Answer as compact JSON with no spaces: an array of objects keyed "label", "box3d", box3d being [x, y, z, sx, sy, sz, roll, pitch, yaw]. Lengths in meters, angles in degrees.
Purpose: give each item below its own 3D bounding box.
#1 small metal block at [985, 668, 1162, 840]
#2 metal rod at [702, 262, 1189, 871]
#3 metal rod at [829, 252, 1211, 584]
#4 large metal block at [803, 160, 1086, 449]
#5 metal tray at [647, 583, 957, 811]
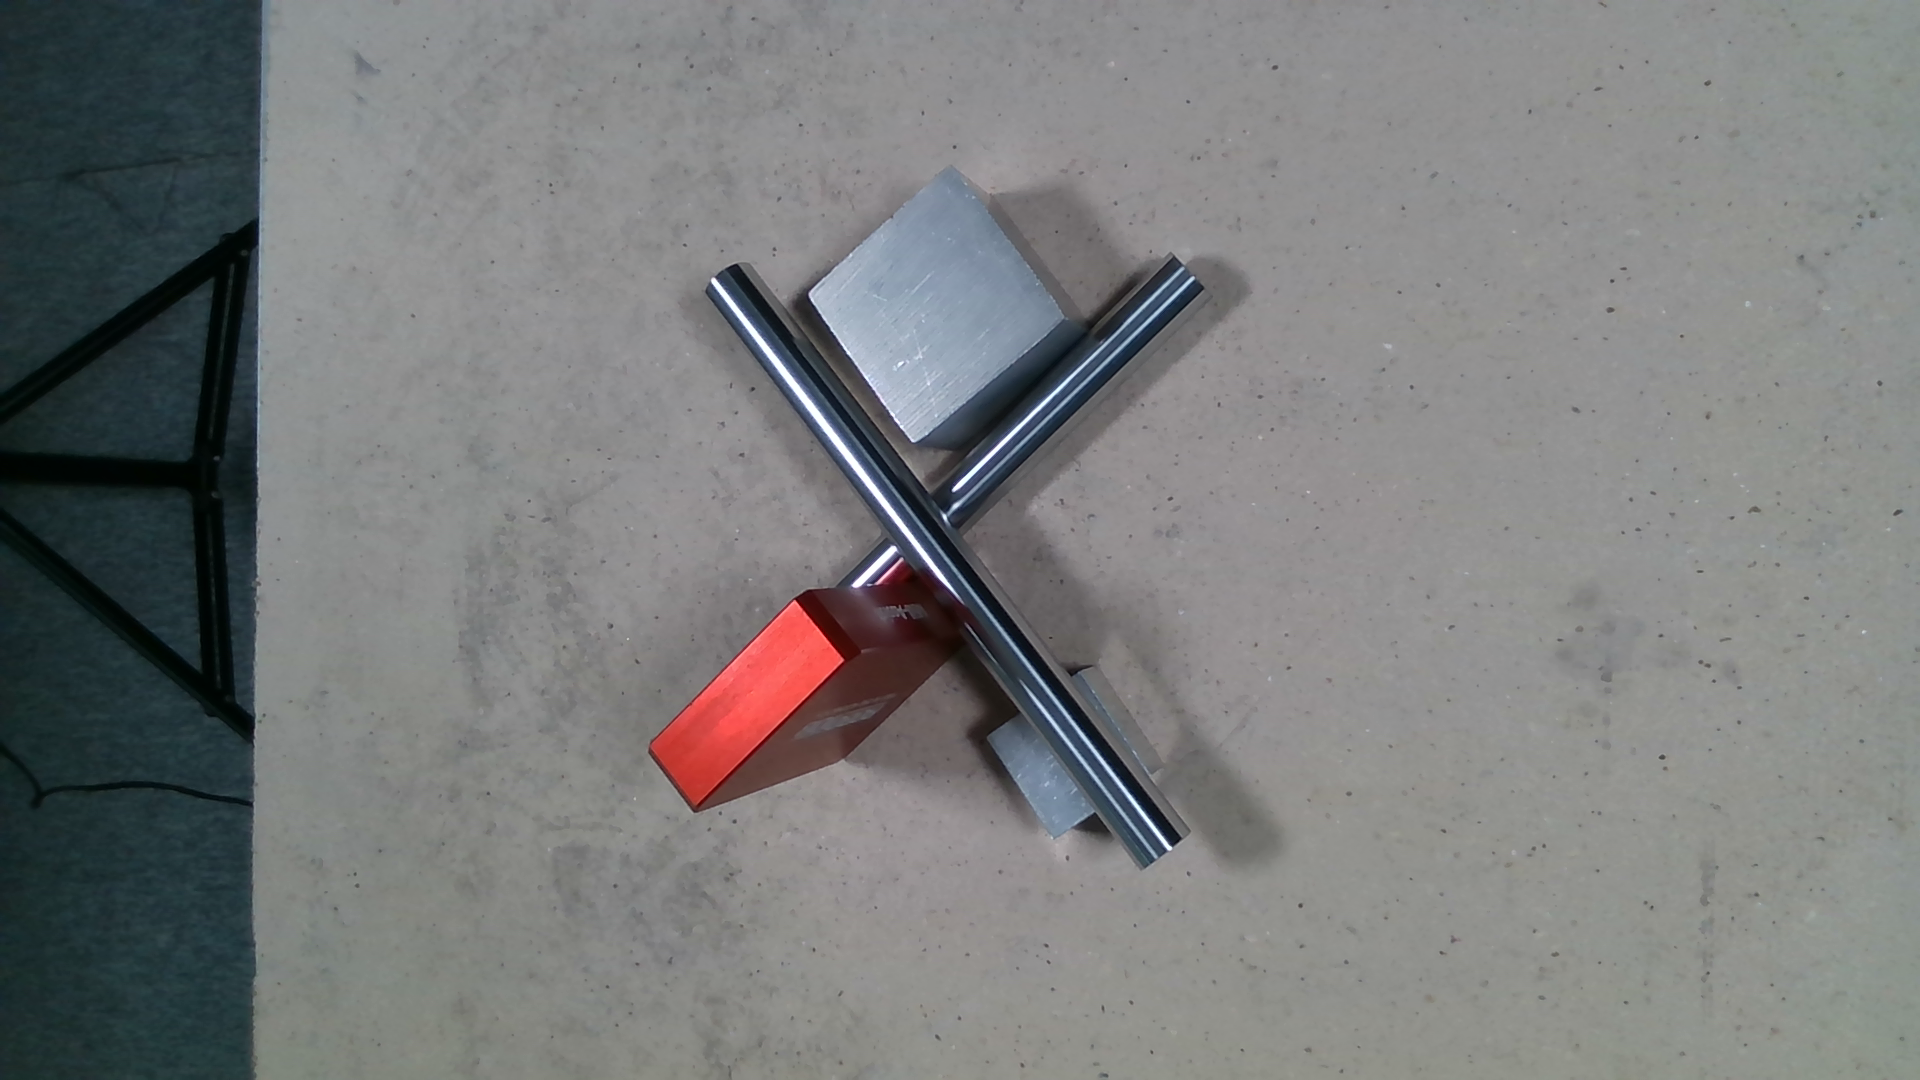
[{"label":"small metal block","box3d":[0.047,0.087,0.569,0.050,0.025,0.050,-37,78,17]},{"label":"metal rod","box3d":[-0.011,0.004,0.563,0.025,0.025,0.300,-41,77,16]},{"label":"metal rod","box3d":[-0.012,-0.007,0.590,0.300,0.025,0.025,-44,76,15]},{"label":"large metal block","box3d":[-0.004,-0.095,0.572,0.080,0.050,0.080,-39,78,16]},{"label":"metal tray","box3d":[-0.055,0.059,0.550,0.090,0.130,0.030,-44,76,15]}]
